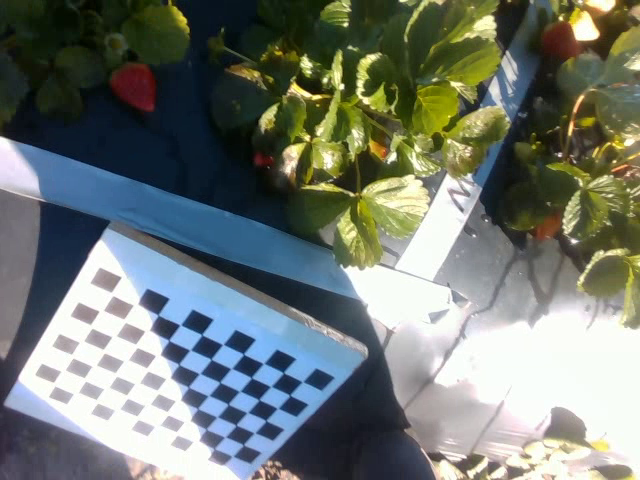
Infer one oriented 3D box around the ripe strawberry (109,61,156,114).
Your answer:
[{"bbox_3d":[-0.173,-0.148,0.565,0.045,0.059,0.042,-25,10,15],"label":"ripe strawberry"}]
